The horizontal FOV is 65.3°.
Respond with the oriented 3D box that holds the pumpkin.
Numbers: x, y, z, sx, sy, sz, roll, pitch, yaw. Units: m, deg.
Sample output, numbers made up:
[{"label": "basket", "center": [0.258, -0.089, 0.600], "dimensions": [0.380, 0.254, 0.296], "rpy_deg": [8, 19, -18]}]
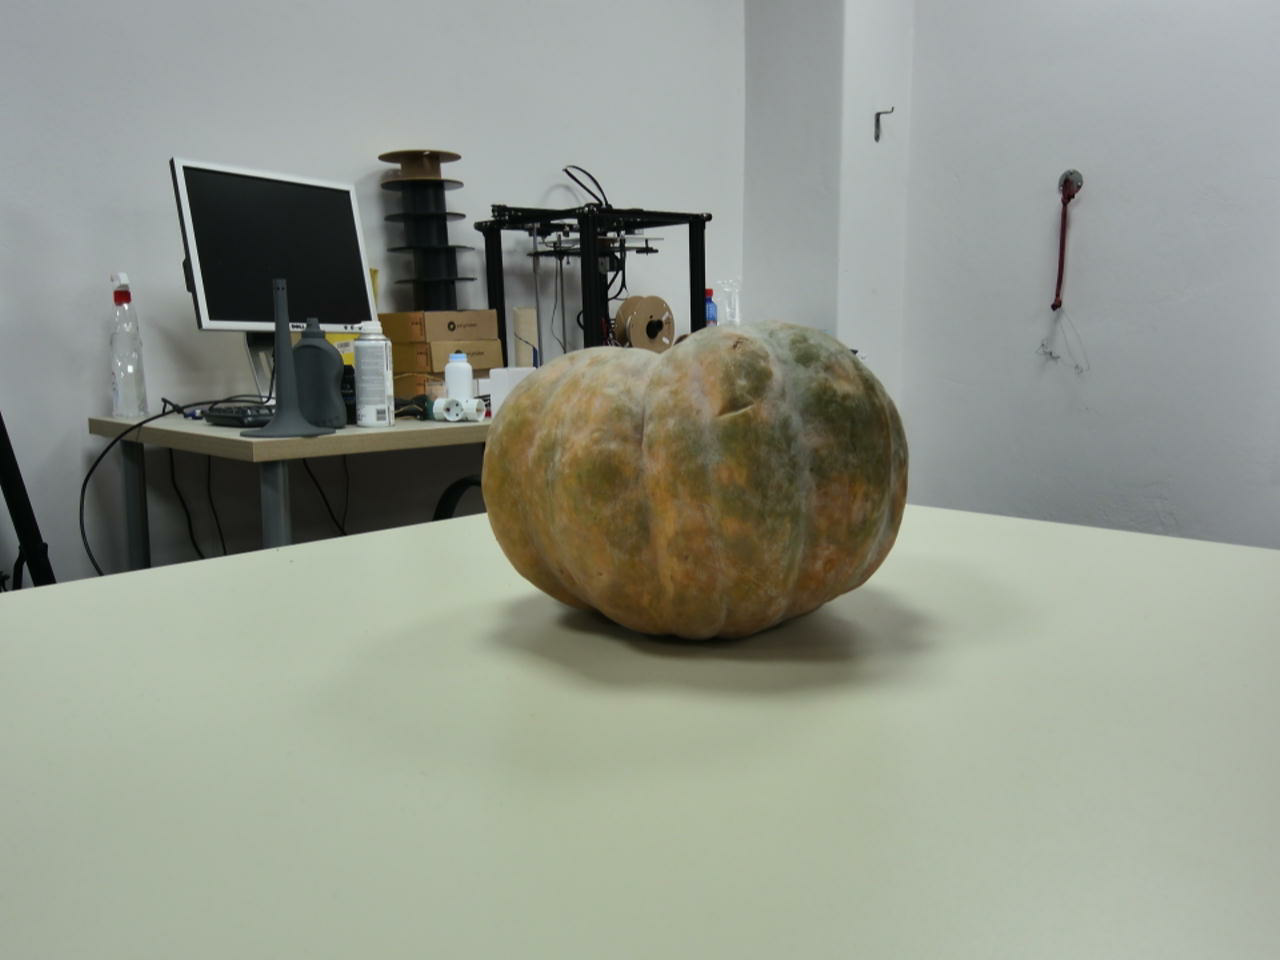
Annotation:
[{"label": "pumpkin", "center": [0.033, -0.004, 0.580], "dimensions": [0.252, 0.168, 0.252], "rpy_deg": [0, 6, 0]}]
